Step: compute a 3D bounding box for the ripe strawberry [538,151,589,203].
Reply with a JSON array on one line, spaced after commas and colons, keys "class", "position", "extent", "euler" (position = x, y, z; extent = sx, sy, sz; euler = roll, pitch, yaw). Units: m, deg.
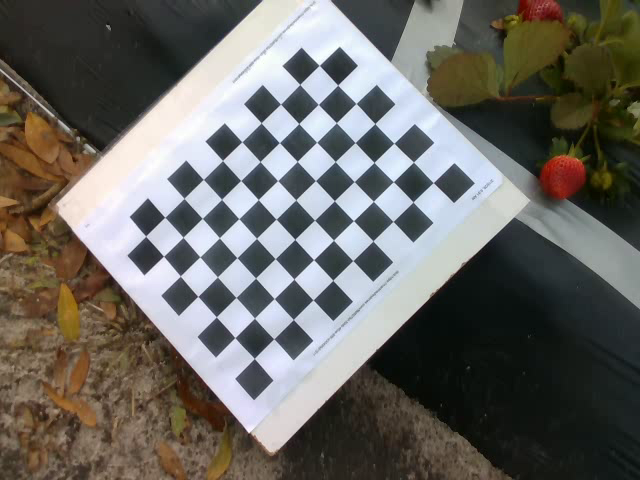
[{"class": "ripe strawberry", "position": [0.196, -0.047, 0.476], "extent": [0.039, 0.047, 0.041], "euler": [7, -13, 17]}]

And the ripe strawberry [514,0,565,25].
[{"class": "ripe strawberry", "position": [0.201, -0.221, 0.551], "extent": [0.043, 0.062, 0.042], "euler": [-28, -16, 9]}]
